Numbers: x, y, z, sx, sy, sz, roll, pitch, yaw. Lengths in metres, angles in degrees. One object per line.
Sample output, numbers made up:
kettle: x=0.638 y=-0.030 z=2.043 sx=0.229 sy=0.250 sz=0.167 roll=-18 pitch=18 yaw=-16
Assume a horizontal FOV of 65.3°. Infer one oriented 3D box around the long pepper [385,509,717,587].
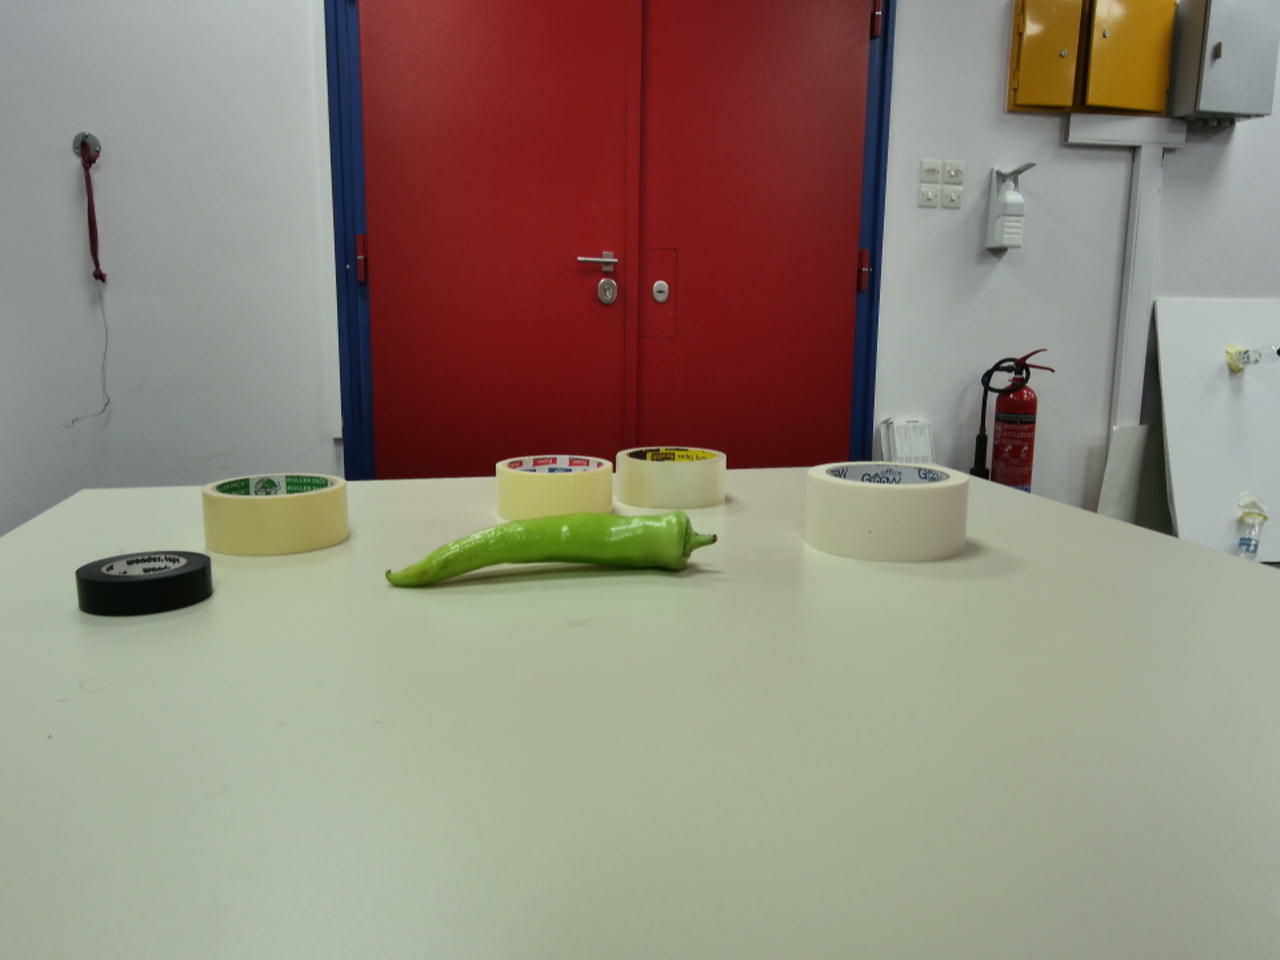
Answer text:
long pepper: x=-0.052 y=0.038 z=0.601 sx=0.197 sy=0.038 sz=0.047 roll=-1 pitch=8 yaw=-11
